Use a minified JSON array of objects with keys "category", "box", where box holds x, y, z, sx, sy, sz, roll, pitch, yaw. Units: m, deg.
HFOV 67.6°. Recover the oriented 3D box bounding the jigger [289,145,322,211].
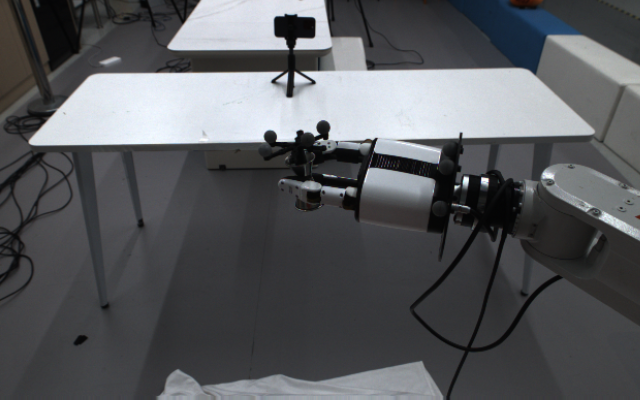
[{"category":"jigger","box":[-0.018,-0.025,0.634,0.043,0.071,0.043,-10,32,6]}]
